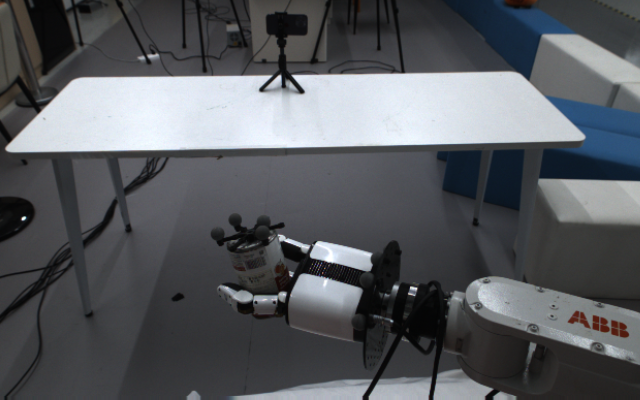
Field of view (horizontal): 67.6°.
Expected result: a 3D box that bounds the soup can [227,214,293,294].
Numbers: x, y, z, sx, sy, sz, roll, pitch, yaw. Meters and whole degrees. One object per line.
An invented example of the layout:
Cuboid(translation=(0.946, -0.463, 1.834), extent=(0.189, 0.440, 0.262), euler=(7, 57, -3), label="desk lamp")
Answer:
Cuboid(translation=(-0.074, 0.094, 0.627), extent=(0.067, 0.101, 0.067), euler=(-13, 19, 4), label="soup can")
